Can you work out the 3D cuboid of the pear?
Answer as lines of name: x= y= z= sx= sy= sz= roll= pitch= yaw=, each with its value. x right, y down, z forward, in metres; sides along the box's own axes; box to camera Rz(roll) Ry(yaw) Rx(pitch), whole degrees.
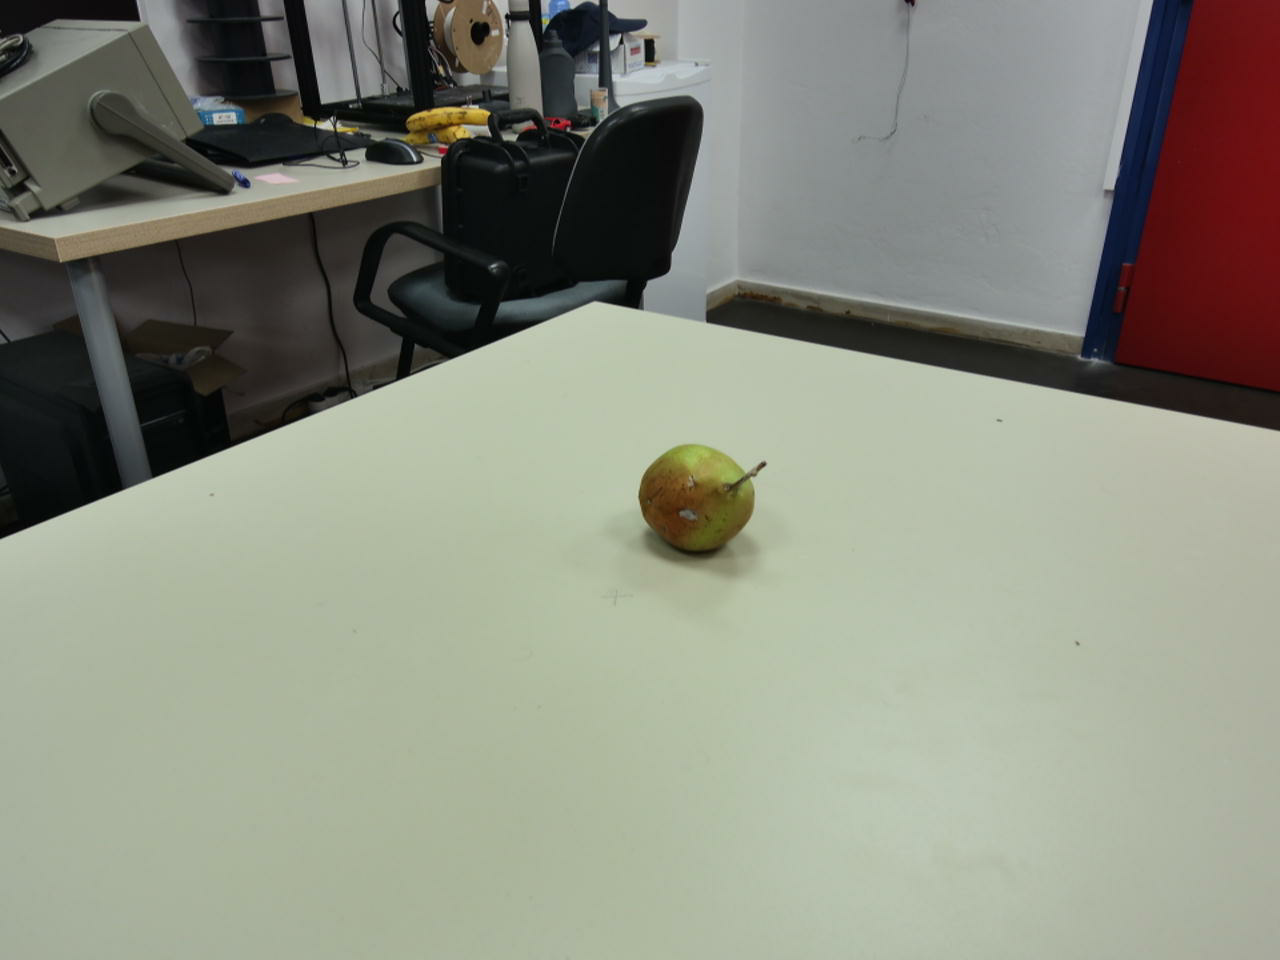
pear: x=0.033 y=0.008 z=0.593 sx=0.068 sy=0.069 sz=0.070 roll=0 pitch=25 yaw=-2
